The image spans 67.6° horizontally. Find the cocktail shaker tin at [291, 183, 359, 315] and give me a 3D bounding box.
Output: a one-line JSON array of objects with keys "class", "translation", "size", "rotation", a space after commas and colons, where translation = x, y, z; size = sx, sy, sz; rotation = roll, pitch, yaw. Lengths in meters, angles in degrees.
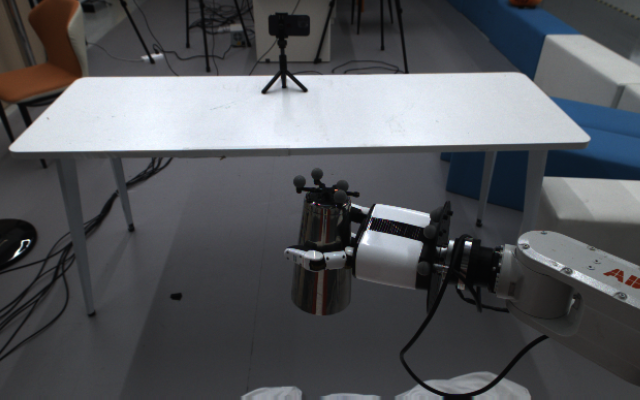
[{"class": "cocktail shaker tin", "translation": [0.007, 0.071, 0.709], "size": [0.093, 0.170, 0.093], "rotation": [2, 26, -1]}]
